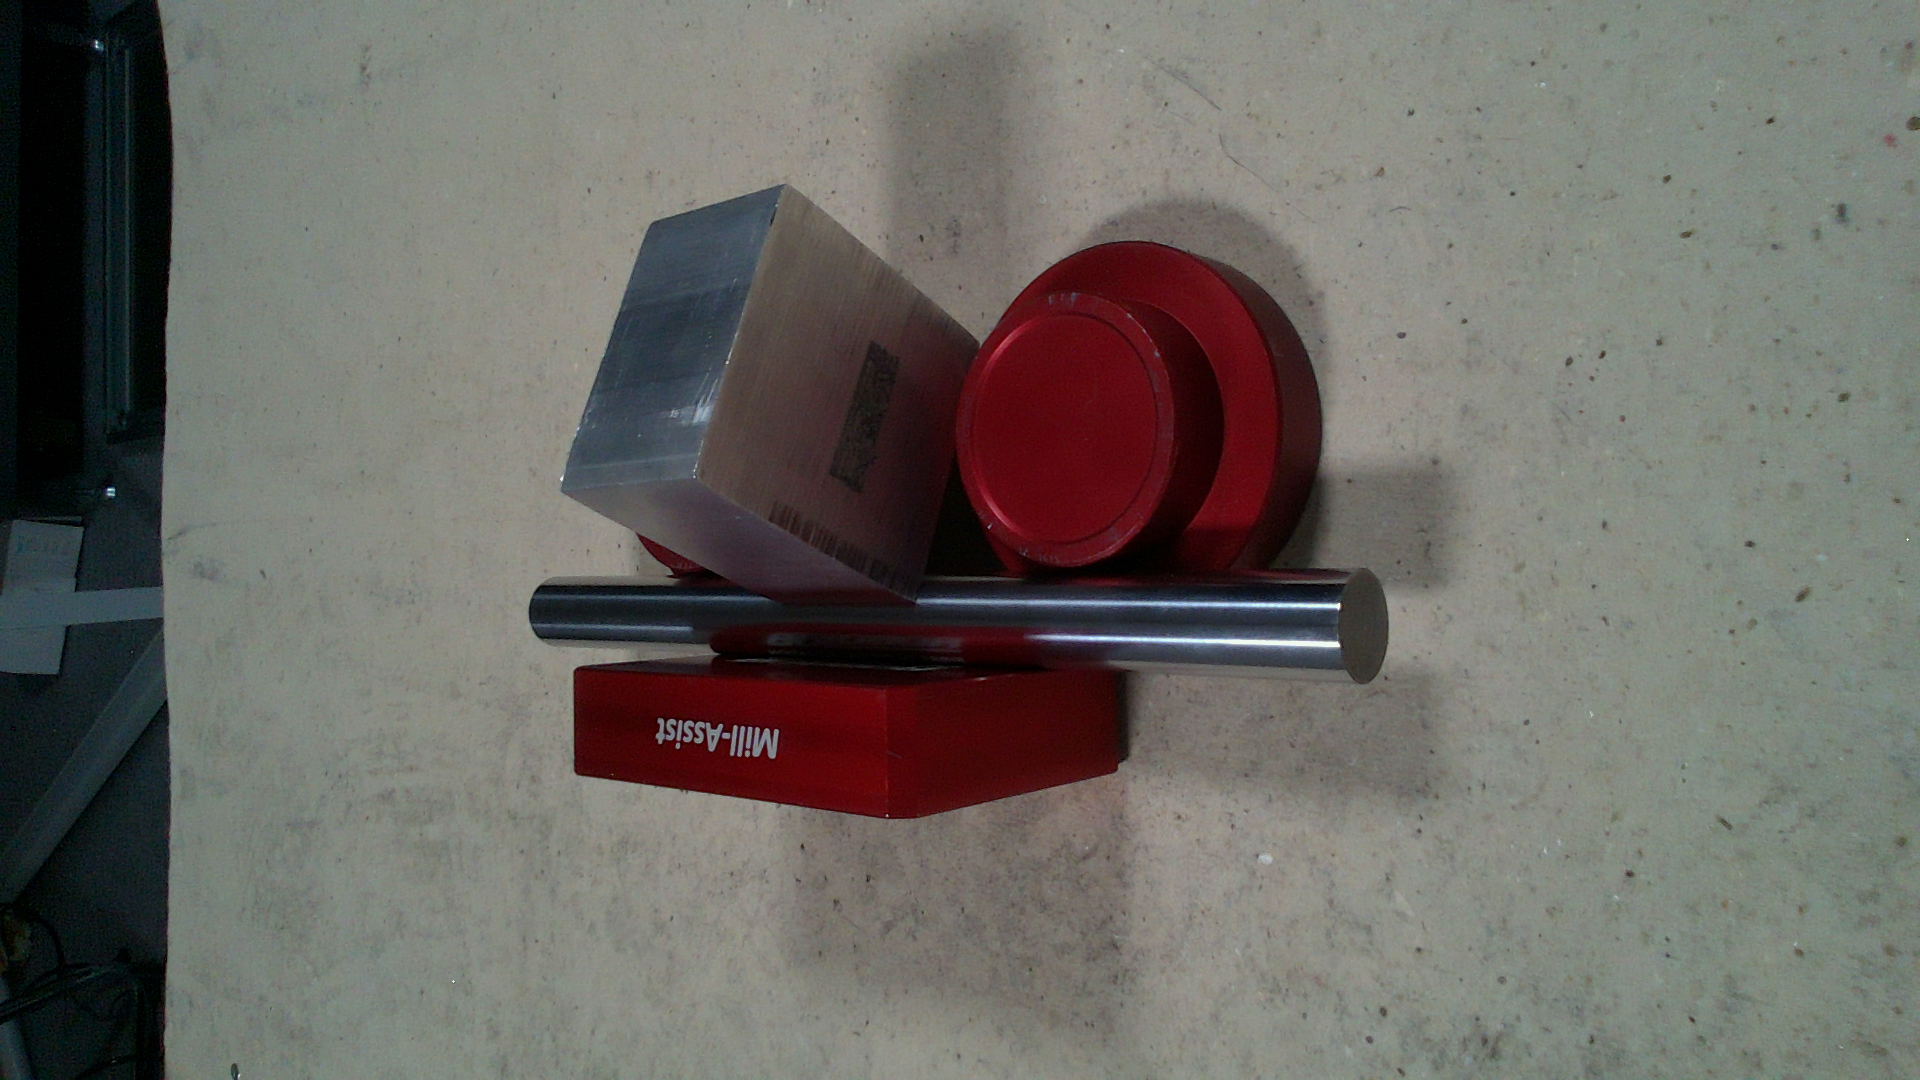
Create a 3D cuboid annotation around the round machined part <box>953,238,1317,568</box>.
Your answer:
[{"bbox_3d":[0.037,-0.028,0.352,0.098,0.042,0.098,0,90,40],"label":"round machined part"}]

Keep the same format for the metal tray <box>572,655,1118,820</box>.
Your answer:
[{"bbox_3d":[-0.033,0.049,0.380,0.129,0.090,0.030,-2,89,40],"label":"metal tray"}]

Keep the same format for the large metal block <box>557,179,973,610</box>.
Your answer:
[{"bbox_3d":[-0.047,-0.034,0.363,0.050,0.080,0.080,-3,65,40],"label":"large metal block"}]

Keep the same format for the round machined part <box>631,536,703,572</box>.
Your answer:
[{"bbox_3d":[-0.074,-0.024,0.444,0.098,0.042,0.098,0,90,40],"label":"round machined part"}]

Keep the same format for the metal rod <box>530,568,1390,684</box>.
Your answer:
[{"bbox_3d":[-0.027,0.022,0.391,0.299,0.025,0.025,-2,89,40],"label":"metal rod"}]
